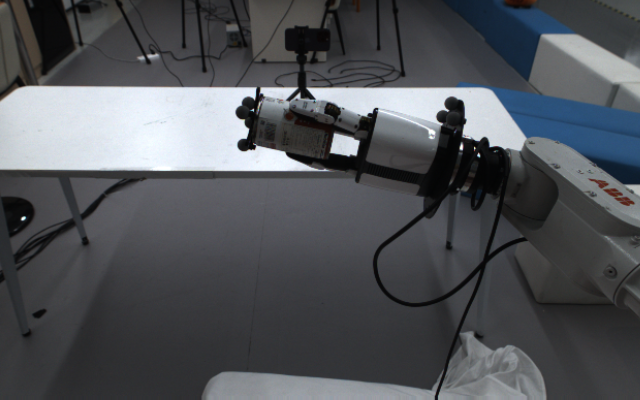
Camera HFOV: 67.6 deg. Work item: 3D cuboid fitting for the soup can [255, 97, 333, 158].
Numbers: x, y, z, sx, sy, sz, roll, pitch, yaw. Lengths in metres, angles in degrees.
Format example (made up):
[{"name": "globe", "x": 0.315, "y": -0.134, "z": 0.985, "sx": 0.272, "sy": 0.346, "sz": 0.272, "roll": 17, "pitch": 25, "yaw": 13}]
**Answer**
[{"name": "soup can", "x": -0.031, "y": -0.095, "z": 0.642, "sx": 0.101, "sy": 0.067, "sz": 0.067, "roll": 12, "pitch": 35, "yaw": -1}]
